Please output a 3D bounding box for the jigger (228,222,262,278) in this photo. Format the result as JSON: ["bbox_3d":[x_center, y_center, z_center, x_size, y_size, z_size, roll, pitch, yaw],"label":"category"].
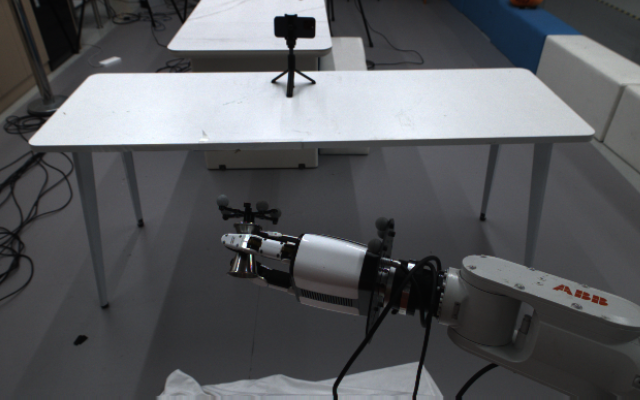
[{"bbox_3d":[-0.100,0.066,0.648,0.043,0.043,0.071,3,72,1],"label":"jigger"}]
